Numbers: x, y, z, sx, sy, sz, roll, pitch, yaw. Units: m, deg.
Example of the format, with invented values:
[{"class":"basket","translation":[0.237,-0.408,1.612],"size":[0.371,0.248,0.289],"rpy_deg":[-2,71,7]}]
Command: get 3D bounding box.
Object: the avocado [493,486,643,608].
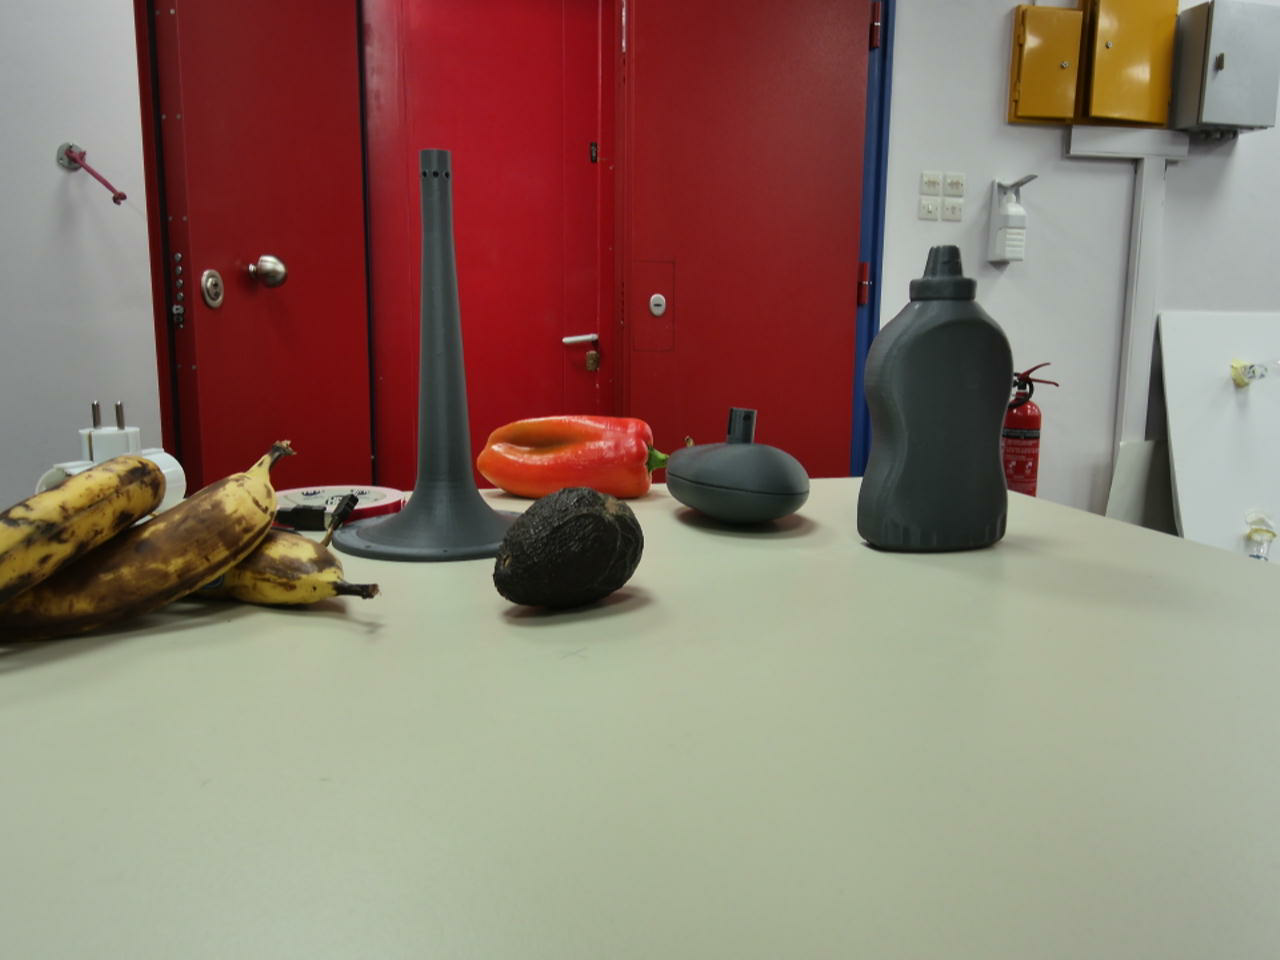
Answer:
[{"class":"avocado","translation":[-0.039,0.035,0.527],"size":[0.092,0.062,0.062],"rpy_deg":[-5,9,-36]}]
